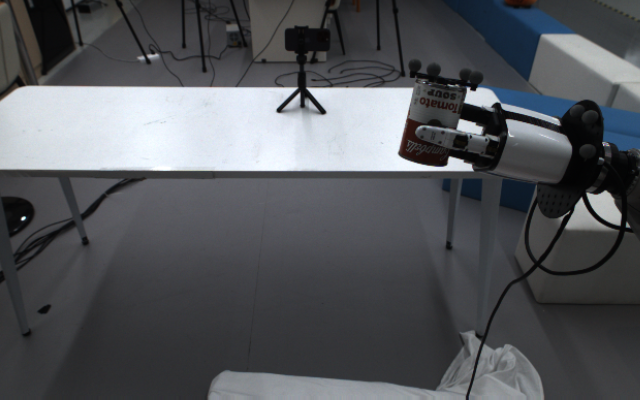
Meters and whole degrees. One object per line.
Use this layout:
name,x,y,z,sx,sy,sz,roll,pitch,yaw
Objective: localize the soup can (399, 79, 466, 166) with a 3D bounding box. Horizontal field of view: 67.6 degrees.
soup can,0.148,-0.104,0.638,0.067,0.101,0.067,9,20,-3
